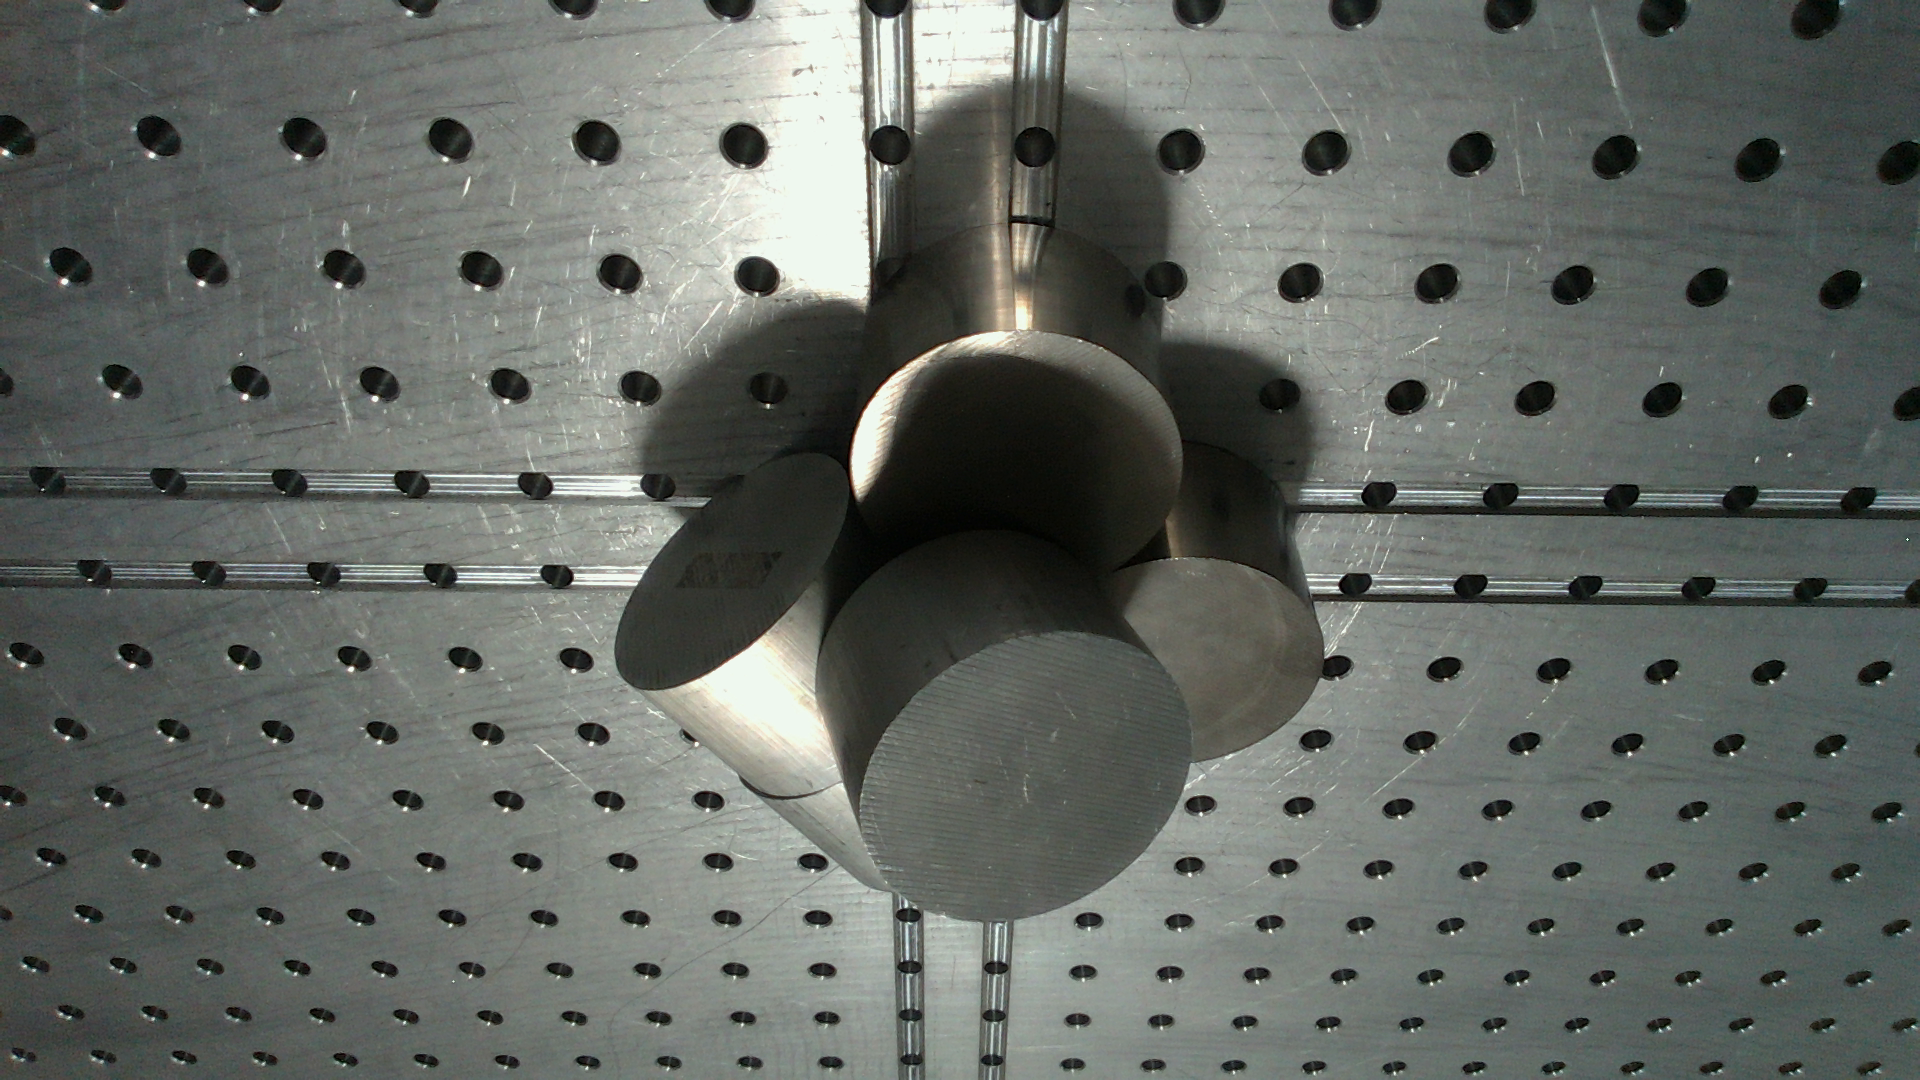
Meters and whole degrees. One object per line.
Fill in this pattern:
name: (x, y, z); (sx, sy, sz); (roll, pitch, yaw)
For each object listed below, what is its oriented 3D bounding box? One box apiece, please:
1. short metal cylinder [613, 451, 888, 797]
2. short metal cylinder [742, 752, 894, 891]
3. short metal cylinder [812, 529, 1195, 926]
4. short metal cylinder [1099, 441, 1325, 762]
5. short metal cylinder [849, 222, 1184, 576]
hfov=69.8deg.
short metal cylinder: (-0.047, 0.022, 0.376); (0.080, 0.080, 0.050); (-27, 125, 21)
short metal cylinder: (-0.020, 0.055, 0.404); (0.080, 0.080, 0.050); (-27, 125, 21)
short metal cylinder: (0.009, 0.044, 0.330); (0.080, 0.050, 0.080); (-8, 119, -15)
short metal cylinder: (0.059, 0.019, 0.392); (0.080, 0.050, 0.080); (0, 130, 0)
short metal cylinder: (0.014, -0.032, 0.349); (0.080, 0.050, 0.080); (0, 130, 0)
